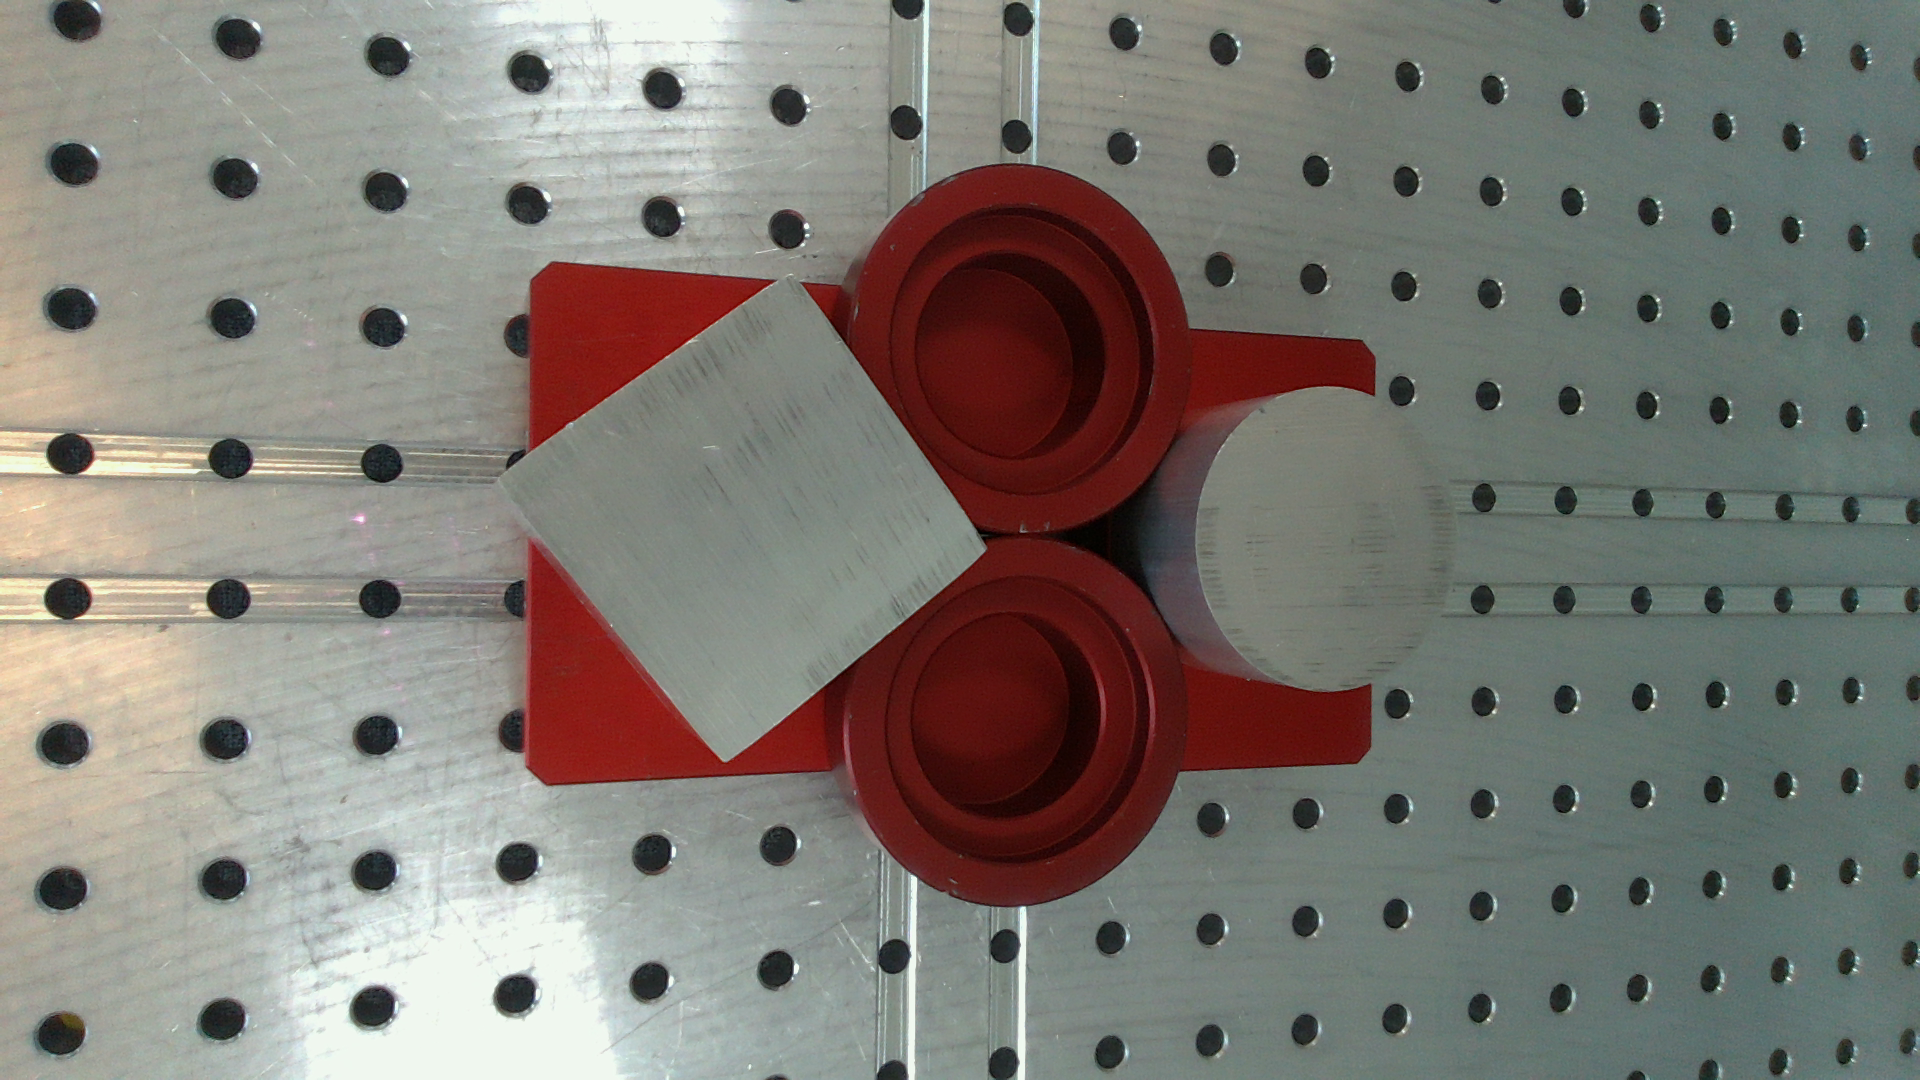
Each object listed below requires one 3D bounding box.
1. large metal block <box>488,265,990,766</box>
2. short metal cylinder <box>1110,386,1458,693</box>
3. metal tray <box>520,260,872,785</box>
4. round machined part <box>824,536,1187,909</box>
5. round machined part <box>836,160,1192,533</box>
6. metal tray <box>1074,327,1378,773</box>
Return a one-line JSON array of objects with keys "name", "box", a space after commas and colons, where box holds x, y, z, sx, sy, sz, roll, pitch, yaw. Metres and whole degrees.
[{"name": "large metal block", "box": [-0.054, -0.006, 0.331, 0.080, 0.050, 0.080, -38, 102, -15]}, {"name": "short metal cylinder", "box": [0.089, 0.000, 0.382, 0.080, 0.050, 0.080, 0, 90, -20]}, {"name": "metal tray", "box": [-0.069, -0.004, 0.368, 0.090, 0.030, 0.130, 1, 90, -21]}, {"name": "round machined part", "box": [0.010, 0.048, 0.381, 0.098, 0.042, 0.098, 0, 90, -20]}, {"name": "round machined part", "box": [0.011, -0.051, 0.381, 0.098, 0.042, 0.098, 0, 90, -20]}, {"name": "metal tray", "box": [0.081, 0.003, 0.421, 0.090, 0.030, 0.130, 1, 90, -20]}]
